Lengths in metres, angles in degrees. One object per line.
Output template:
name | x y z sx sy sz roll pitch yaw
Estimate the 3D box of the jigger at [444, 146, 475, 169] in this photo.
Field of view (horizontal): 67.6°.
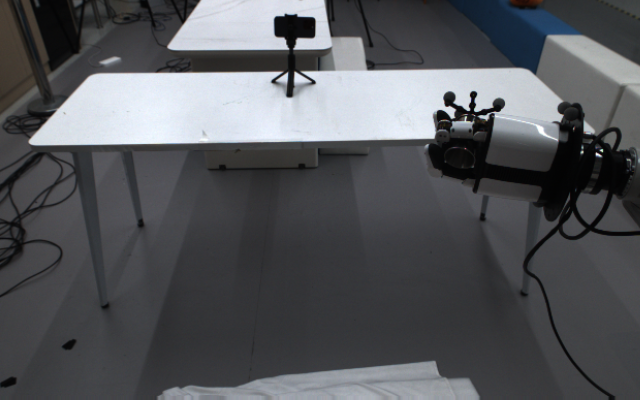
jigger | 0.206 -0.085 0.684 0.043 0.043 0.071 13 58 16
